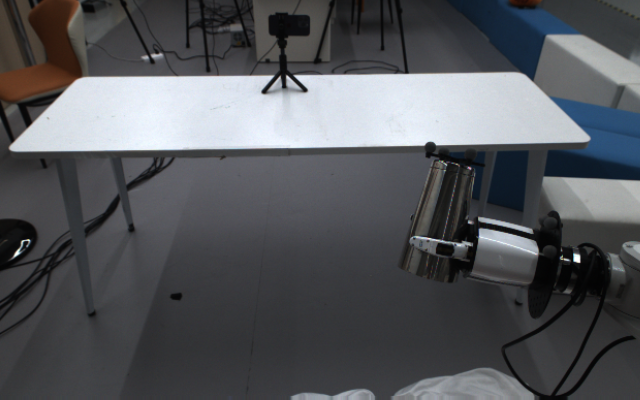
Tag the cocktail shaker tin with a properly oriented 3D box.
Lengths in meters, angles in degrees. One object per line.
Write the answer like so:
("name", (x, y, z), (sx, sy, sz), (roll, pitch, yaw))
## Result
("cocktail shaker tin", (0.183, 0.029, 0.736), (0.093, 0.170, 0.093), (13, 4, -1))
